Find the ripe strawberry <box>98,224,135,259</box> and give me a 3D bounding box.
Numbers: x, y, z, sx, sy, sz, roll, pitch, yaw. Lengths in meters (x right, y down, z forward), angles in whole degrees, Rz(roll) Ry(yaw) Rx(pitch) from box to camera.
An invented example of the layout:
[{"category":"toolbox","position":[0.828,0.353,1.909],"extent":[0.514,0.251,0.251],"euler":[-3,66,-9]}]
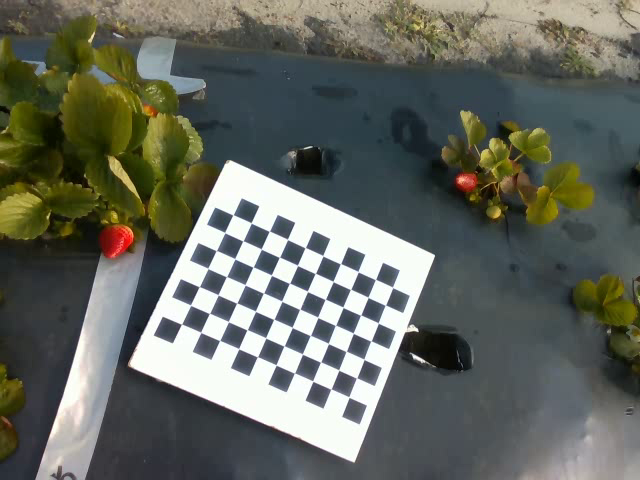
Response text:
[{"category":"ripe strawberry","position":[-0.221,0.005,0.672],"extent":[0.050,0.055,0.036],"euler":[20,-31,-12]}]
